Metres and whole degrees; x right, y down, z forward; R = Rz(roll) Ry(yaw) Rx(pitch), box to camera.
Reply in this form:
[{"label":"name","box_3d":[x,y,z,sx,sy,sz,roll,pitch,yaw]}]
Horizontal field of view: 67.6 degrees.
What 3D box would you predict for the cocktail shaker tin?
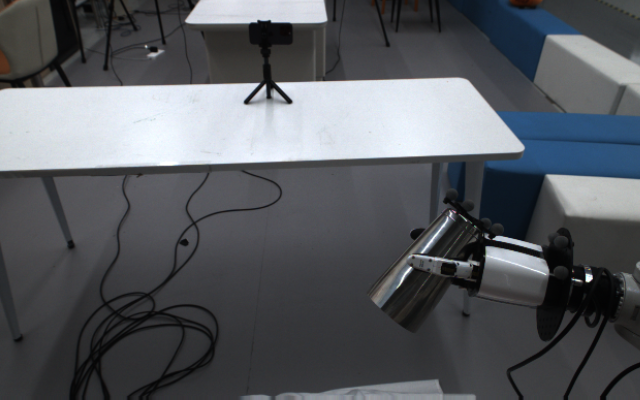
[{"label":"cocktail shaker tin","box_3d":[0.158,0.093,0.703,0.170,0.093,0.093,-50,46,3]}]
